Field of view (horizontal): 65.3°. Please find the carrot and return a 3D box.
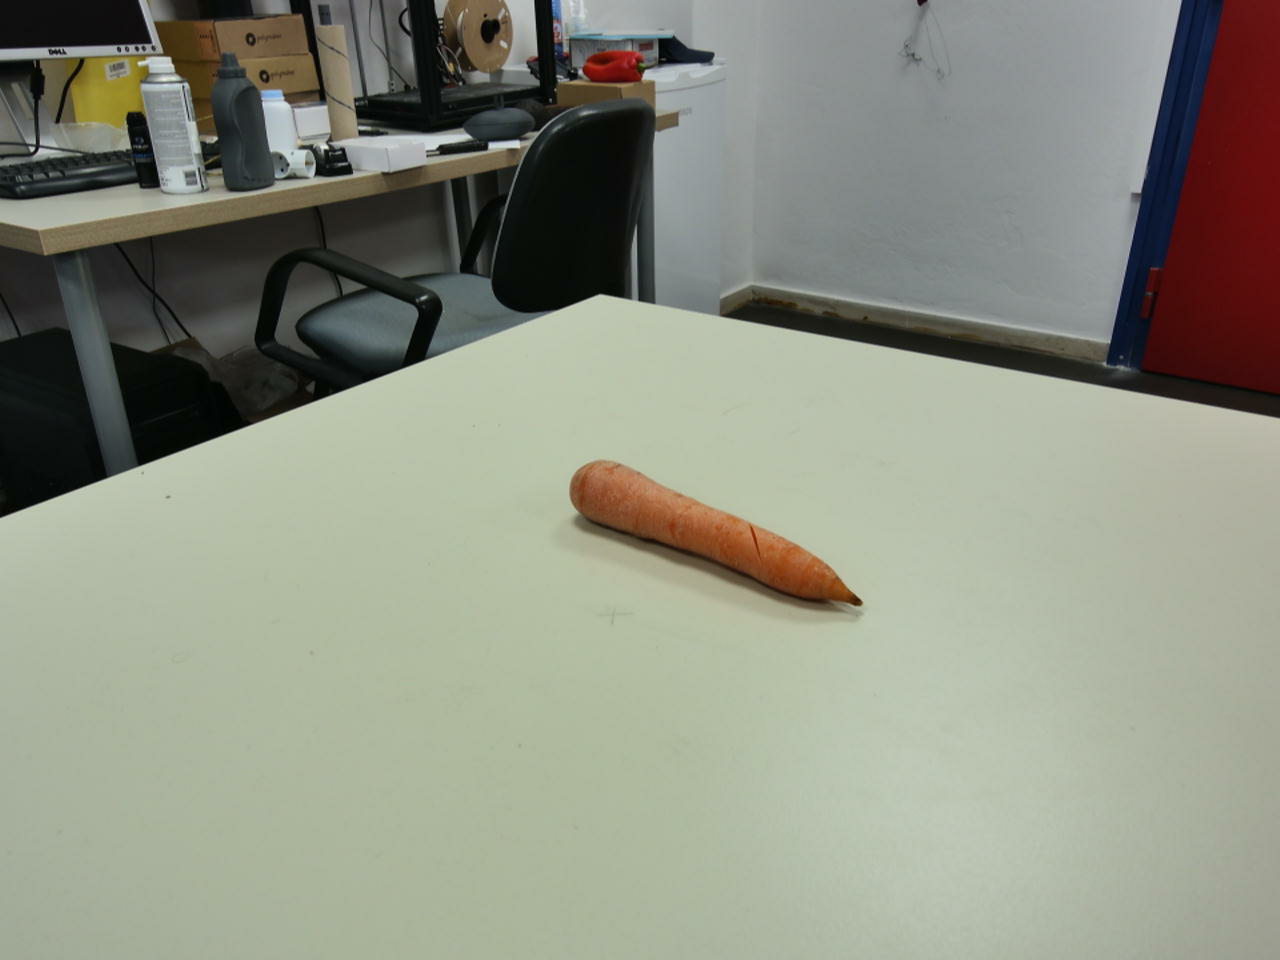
[{"bbox_3d":[0.040,0.027,0.572,0.196,0.041,0.039,18,30,33],"label":"carrot"}]
